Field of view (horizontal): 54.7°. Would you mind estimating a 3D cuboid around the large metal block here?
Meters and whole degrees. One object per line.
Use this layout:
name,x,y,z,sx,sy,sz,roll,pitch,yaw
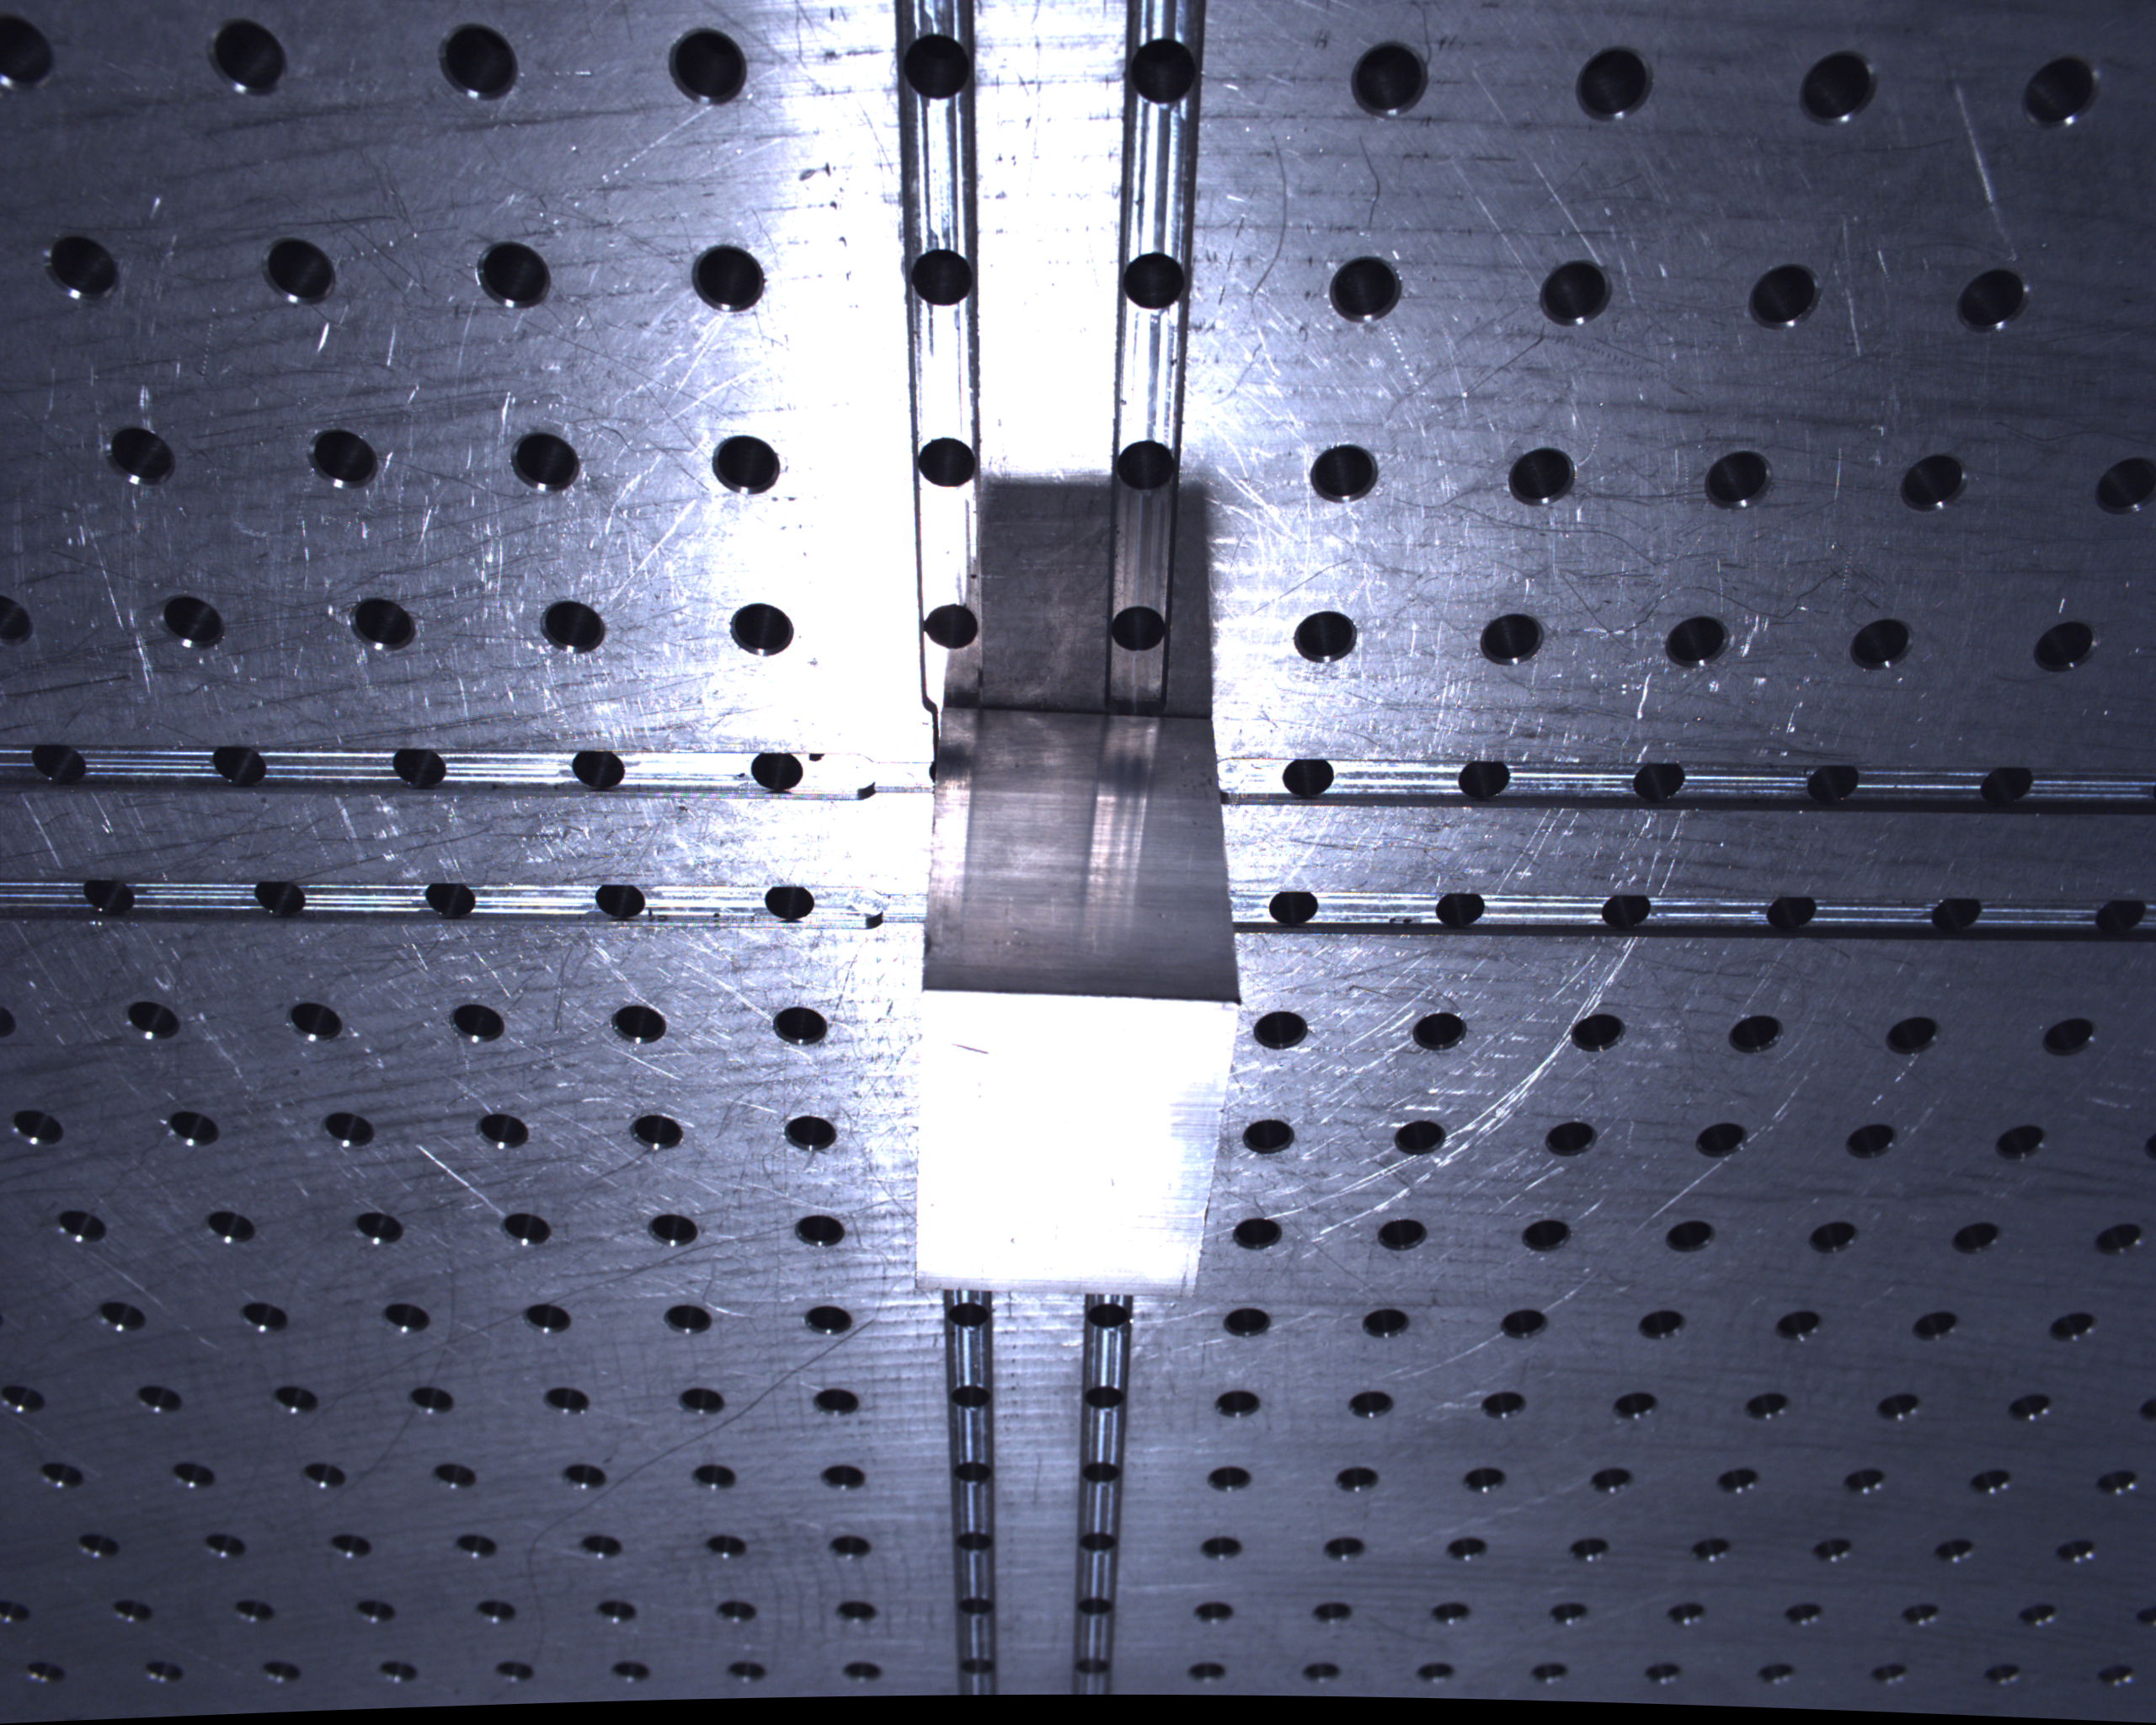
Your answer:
large metal block,-0.002,0.027,0.397,0.050,0.080,0.079,3,130,-3
